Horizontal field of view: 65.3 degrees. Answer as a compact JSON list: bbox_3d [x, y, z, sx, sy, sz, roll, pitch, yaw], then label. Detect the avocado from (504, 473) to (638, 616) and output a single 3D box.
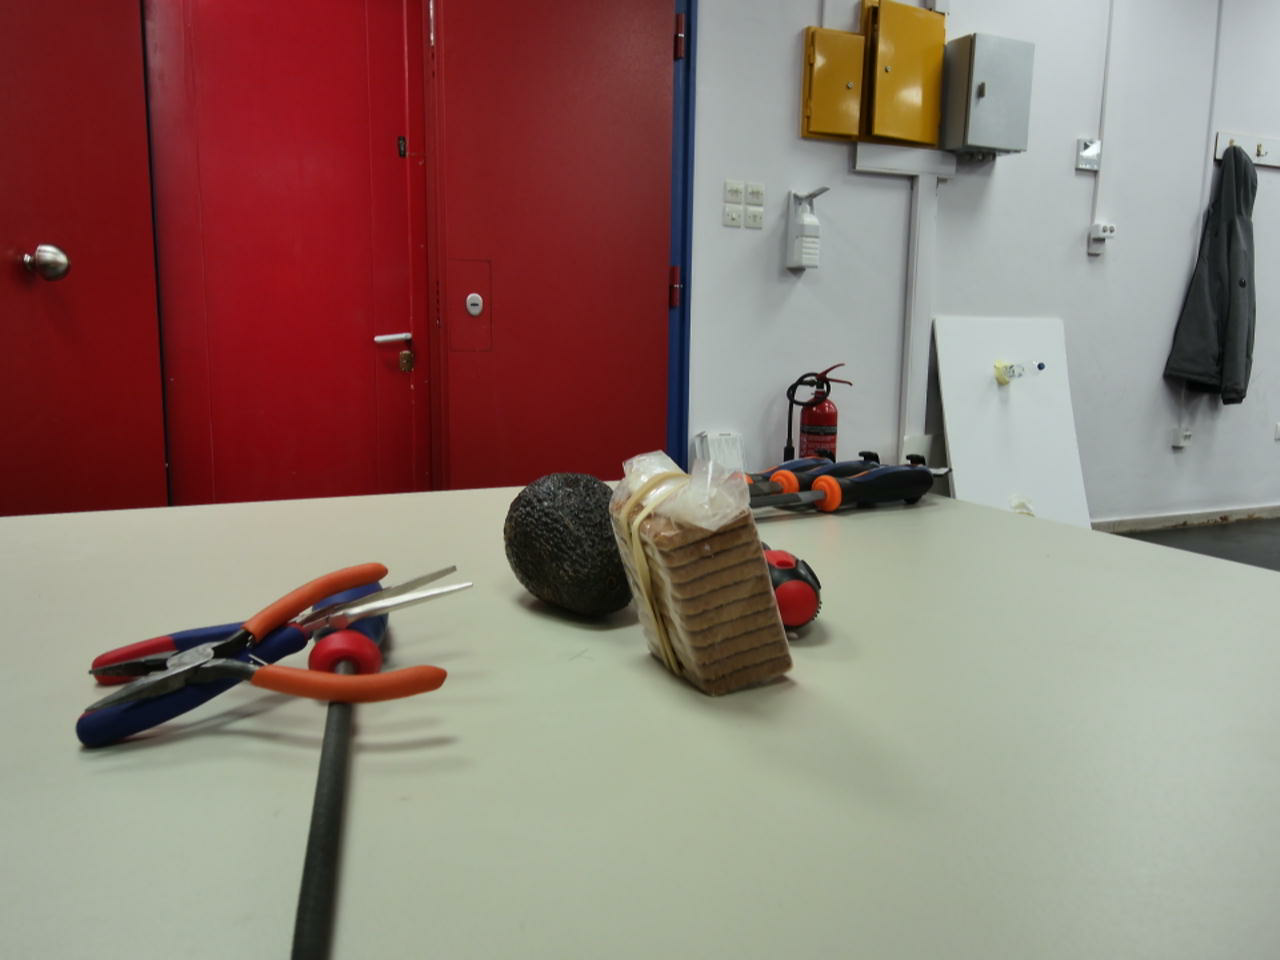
[{"bbox_3d":[-0.037,0.031,0.519,0.070,0.069,0.090,0,6,0],"label":"avocado"}]
